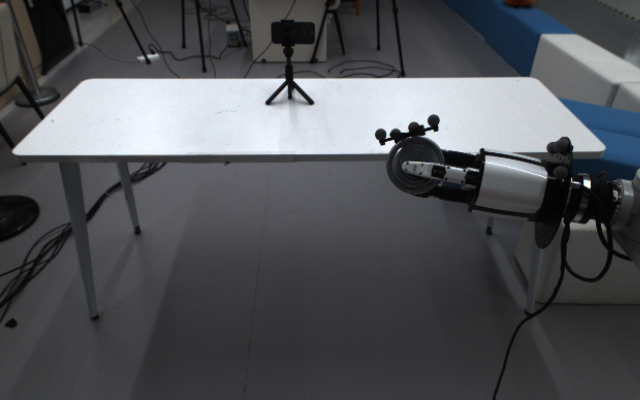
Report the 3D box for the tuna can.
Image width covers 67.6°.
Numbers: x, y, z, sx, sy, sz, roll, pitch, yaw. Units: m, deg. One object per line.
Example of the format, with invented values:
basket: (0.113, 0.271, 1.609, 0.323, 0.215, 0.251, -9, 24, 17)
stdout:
tuna can: (0.143, -0.053, 0.718, 0.085, 0.085, 0.034, 12, 3, 14)
